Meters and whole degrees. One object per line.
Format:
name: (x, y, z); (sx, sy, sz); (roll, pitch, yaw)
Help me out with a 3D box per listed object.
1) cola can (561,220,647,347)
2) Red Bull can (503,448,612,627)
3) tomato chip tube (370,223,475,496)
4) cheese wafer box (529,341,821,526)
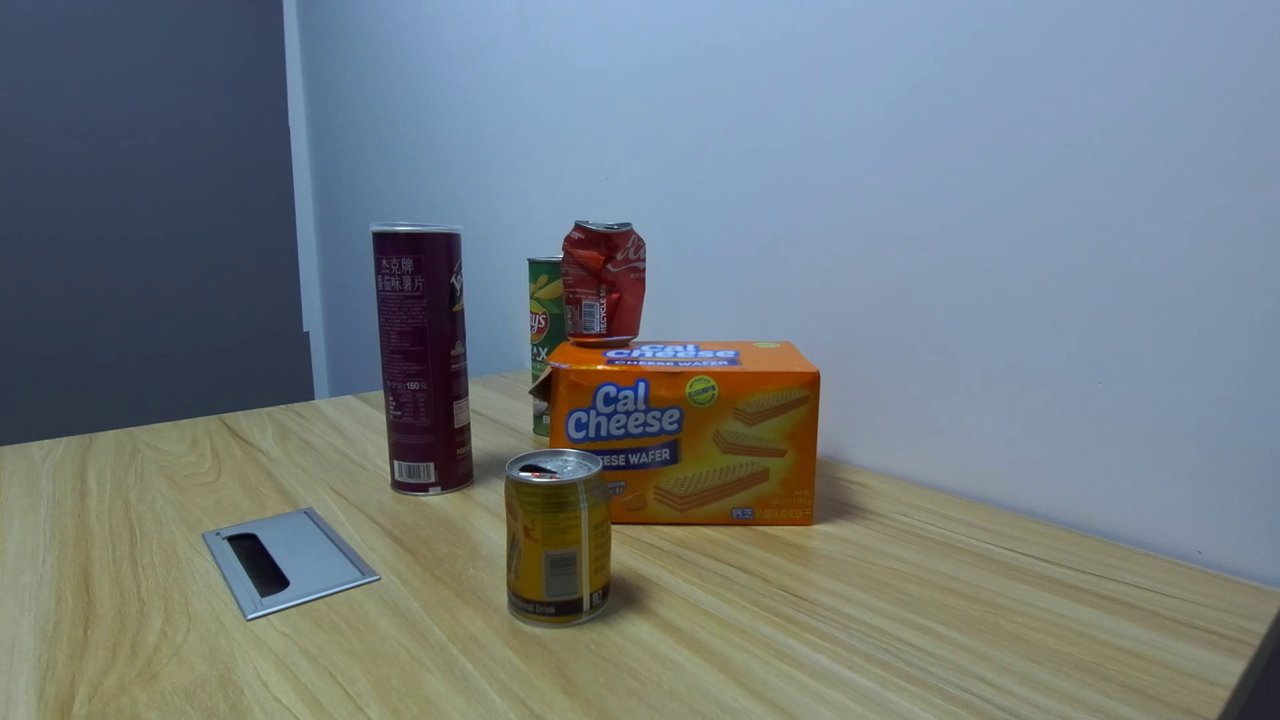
cola can: (-0.036, -0.070, 0.641); (0.069, 0.112, 0.066); (5, 12, 22)
Red Bull can: (-0.053, 0.108, 0.443); (0.069, 0.092, 0.069); (0, 11, 0)
tomato chip tube: (-0.197, 0.000, 0.646); (0.078, 0.233, 0.078); (0, 9, 0)
cheese wafer box: (0.032, 0.054, 0.619); (0.227, 0.137, 0.149); (0, 11, 2)
